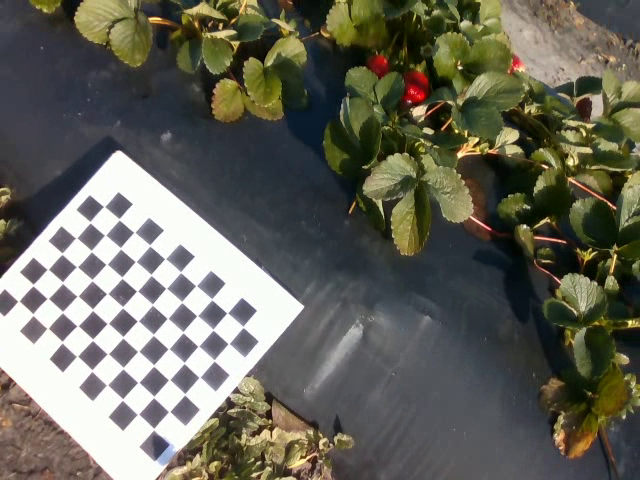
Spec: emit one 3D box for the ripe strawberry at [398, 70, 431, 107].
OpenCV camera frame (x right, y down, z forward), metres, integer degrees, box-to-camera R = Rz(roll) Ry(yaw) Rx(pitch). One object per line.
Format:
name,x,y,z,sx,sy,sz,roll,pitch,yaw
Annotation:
ripe strawberry,0.119,-0.203,0.835,0.052,0.046,0.058,3,31,8

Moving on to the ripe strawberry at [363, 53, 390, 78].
ripe strawberry,0.070,-0.231,0.837,0.043,0.037,0.052,-6,32,7
